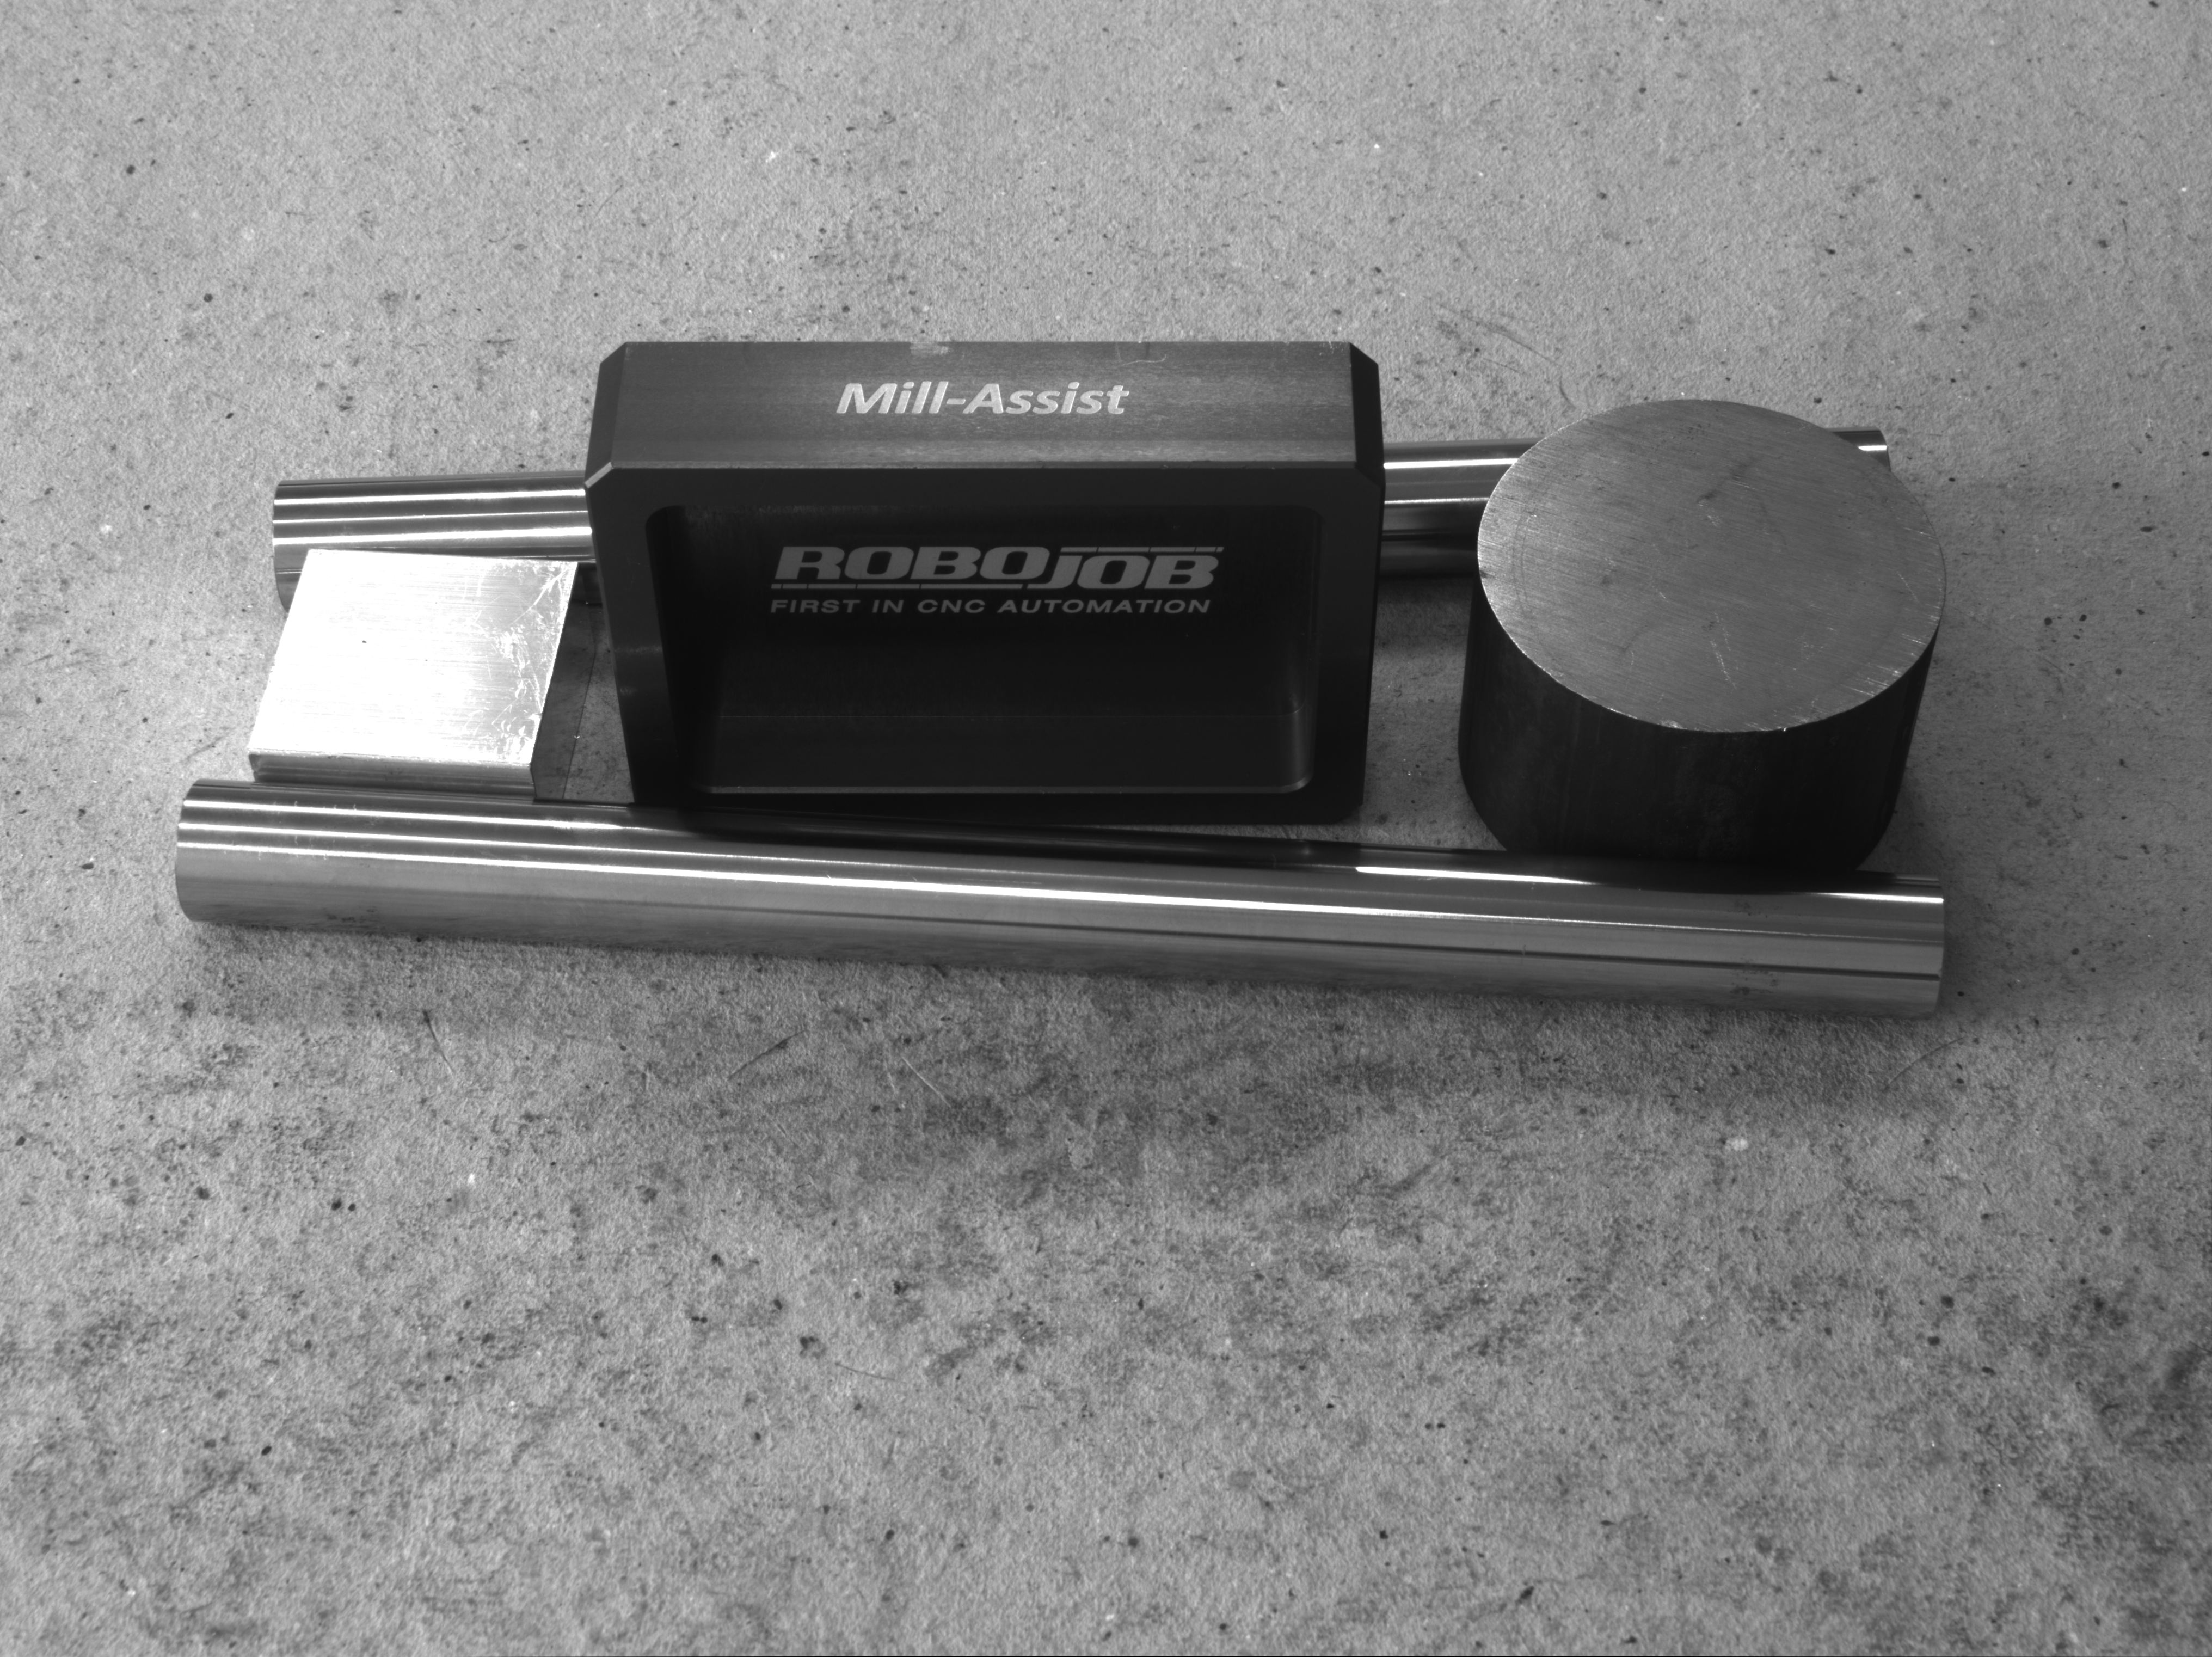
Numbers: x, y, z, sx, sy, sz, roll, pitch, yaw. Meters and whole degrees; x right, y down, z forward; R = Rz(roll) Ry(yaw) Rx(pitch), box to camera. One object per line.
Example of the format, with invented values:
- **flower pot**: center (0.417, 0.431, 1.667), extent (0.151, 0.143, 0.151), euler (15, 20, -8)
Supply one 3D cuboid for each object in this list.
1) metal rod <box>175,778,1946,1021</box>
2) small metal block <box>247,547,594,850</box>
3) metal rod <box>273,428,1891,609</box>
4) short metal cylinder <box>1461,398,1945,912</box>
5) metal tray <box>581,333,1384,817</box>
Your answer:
- **metal rod**: center (-0.009, 0.012, 0.633), extent (0.300, 0.025, 0.025), euler (3, 50, 3)
- **small metal block**: center (-0.122, -0.023, 0.663), extent (0.050, 0.025, 0.050), euler (3, 50, 3)
- **metal rod**: center (-0.004, -0.058, 0.692), extent (0.300, 0.025, 0.025), euler (-2, 50, -2)
- **short metal cylinder**: center (0.104, -0.030, 0.652), extent (0.080, 0.050, 0.080), euler (0, 50, 0)
- **metal tray**: center (-0.019, -0.042, 0.634), extent (0.130, 0.090, 0.030), euler (0, 50, 0)
